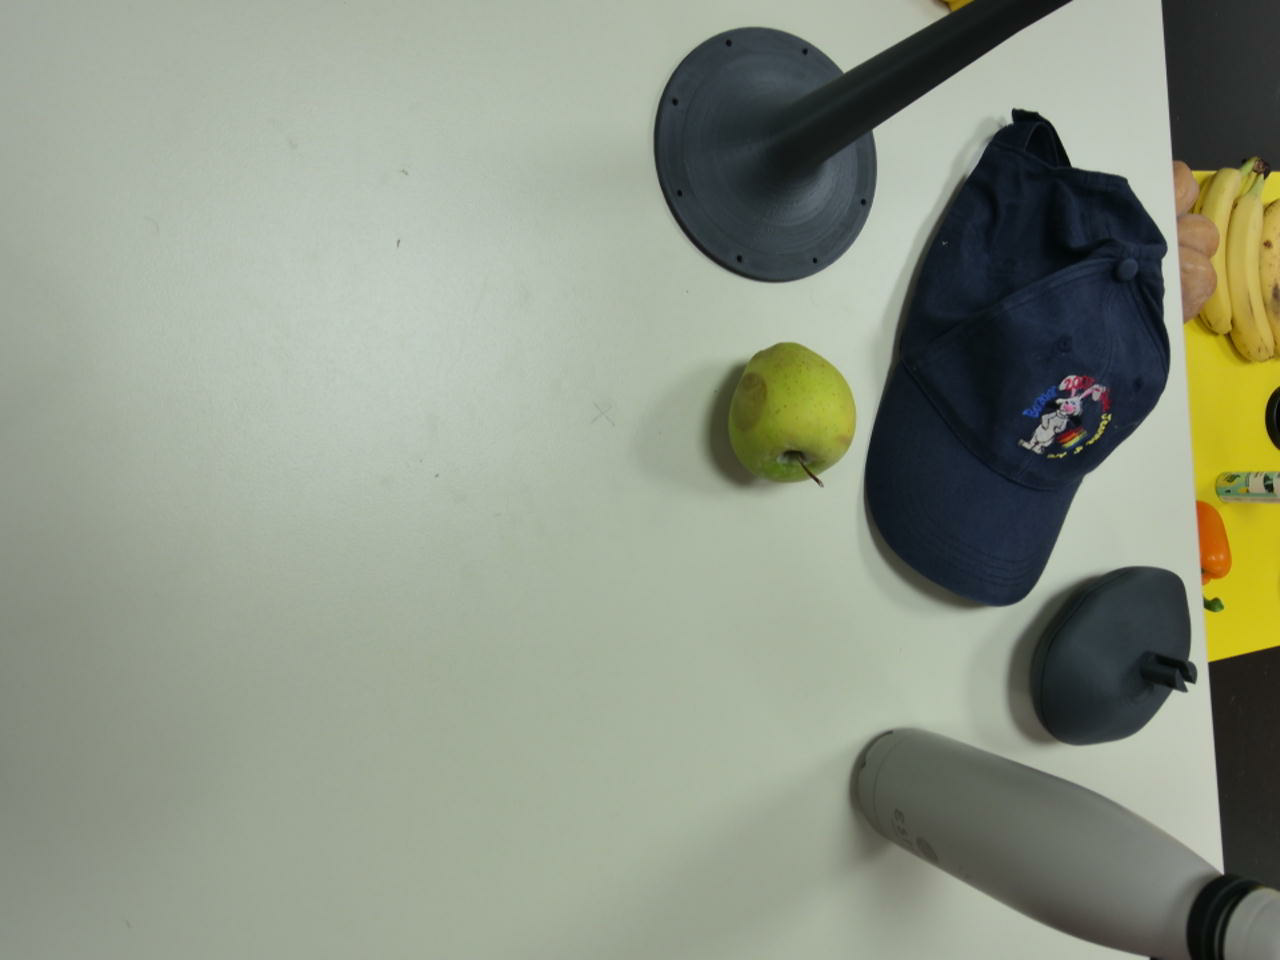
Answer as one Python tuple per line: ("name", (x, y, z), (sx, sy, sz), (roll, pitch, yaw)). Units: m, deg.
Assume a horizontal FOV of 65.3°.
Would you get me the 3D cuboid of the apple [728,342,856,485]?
("apple", (0.086, -0.037, 0.565), (0.072, 0.075, 0.077), (42, 76, -17))
